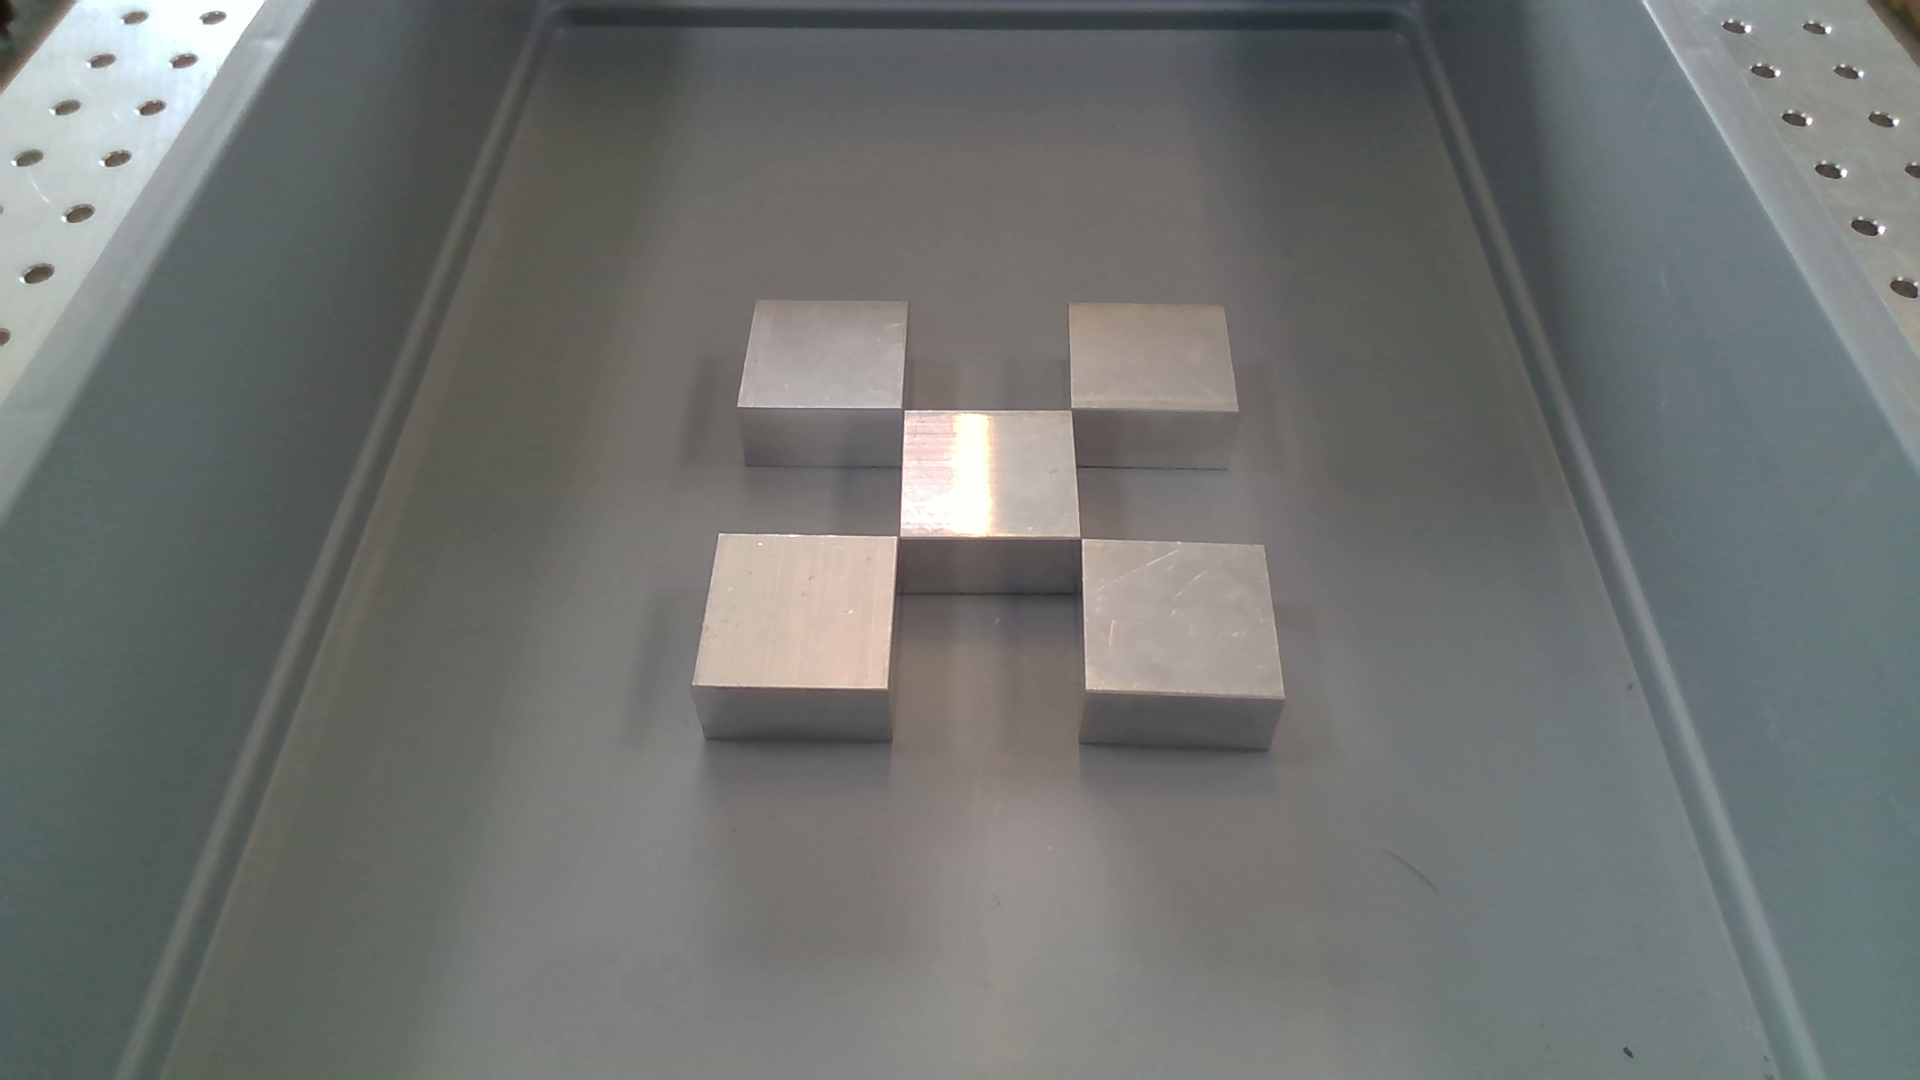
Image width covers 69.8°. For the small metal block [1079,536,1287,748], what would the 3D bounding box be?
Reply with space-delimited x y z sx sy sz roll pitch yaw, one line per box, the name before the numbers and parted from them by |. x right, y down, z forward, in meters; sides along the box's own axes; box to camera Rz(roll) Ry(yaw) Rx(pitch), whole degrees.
small metal block | 0.057 0.027 0.369 0.050 0.025 0.050 2 50 2

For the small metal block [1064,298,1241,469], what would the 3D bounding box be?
small metal block | 0.059 -0.050 0.433 0.050 0.025 0.050 1 50 1

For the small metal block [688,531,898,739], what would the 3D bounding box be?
small metal block | -0.043 0.025 0.370 0.050 0.025 0.050 1 50 1

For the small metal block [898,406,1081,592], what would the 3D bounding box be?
small metal block | 0.008 -0.012 0.402 0.050 0.025 0.050 0 50 0

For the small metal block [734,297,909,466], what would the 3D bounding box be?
small metal block | -0.042 -0.050 0.434 0.050 0.025 0.050 0 50 0
